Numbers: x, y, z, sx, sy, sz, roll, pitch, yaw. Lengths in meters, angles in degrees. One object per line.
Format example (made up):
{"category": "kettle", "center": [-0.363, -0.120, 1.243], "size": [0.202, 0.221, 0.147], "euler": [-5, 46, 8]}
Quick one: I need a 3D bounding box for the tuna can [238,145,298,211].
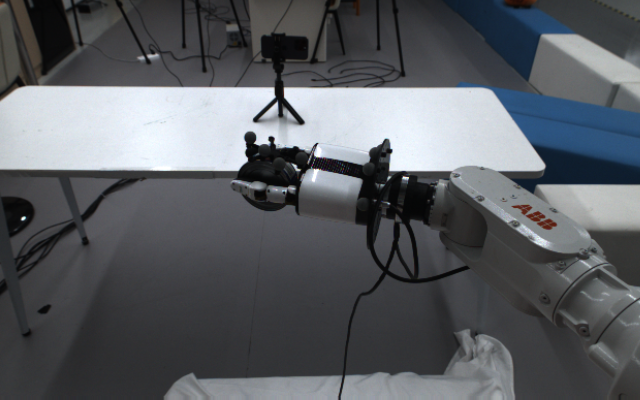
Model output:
{"category": "tuna can", "center": [-0.074, -0.028, 0.714], "size": [0.085, 0.085, 0.034], "euler": [12, 33, 14]}
